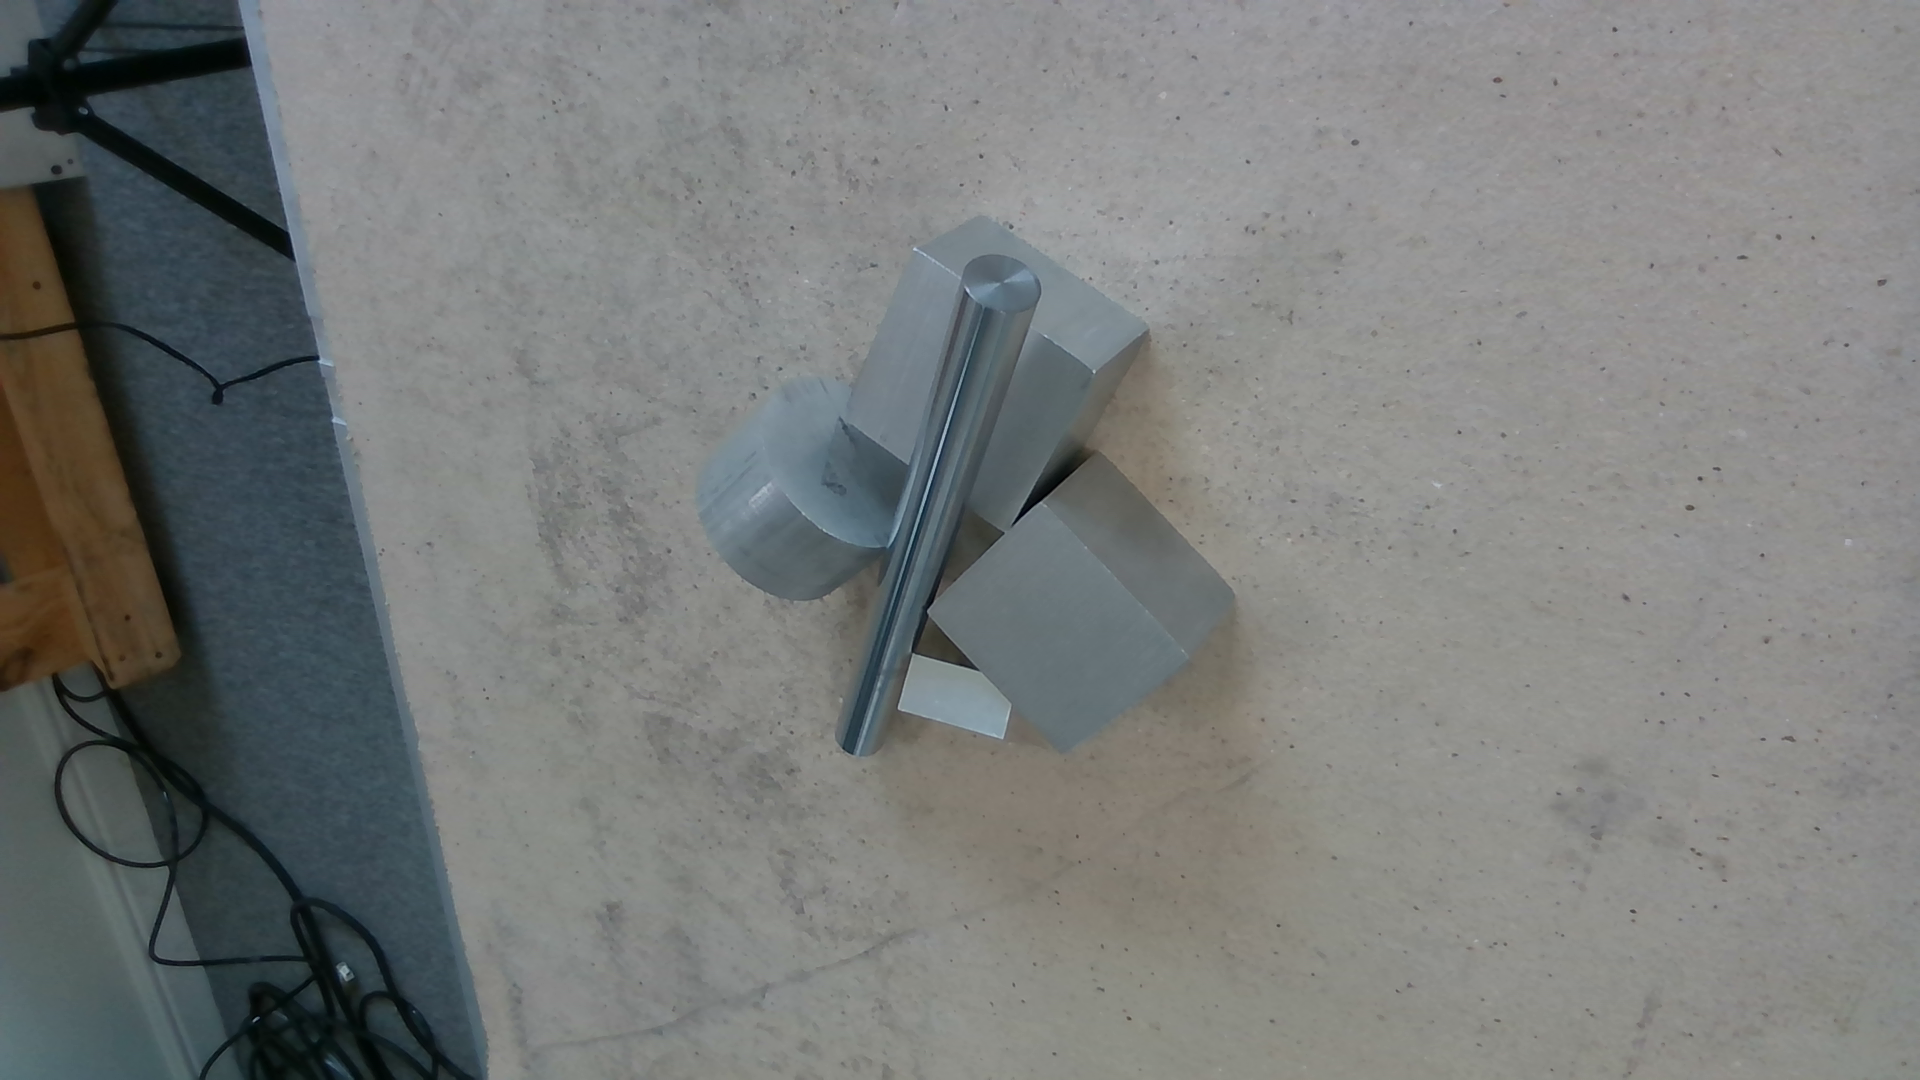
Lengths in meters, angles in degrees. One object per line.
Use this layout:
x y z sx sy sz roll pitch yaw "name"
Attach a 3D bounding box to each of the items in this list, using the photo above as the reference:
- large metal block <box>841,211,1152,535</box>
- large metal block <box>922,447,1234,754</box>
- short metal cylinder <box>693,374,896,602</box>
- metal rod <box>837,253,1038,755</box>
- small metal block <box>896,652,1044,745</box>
0.012 -0.064 0.522 0.080 0.050 0.080 36 128 10 "large metal block"
0.046 0.025 0.546 0.080 0.050 0.080 47 129 1 "large metal block"
-0.063 -0.021 0.571 0.050 0.080 0.080 -36 94 39 "short metal cylinder"
-0.018 0.006 0.542 0.025 0.025 0.301 35 144 11 "metal rod"
0.008 0.069 0.594 0.050 0.050 0.025 12 85 26 "small metal block"
